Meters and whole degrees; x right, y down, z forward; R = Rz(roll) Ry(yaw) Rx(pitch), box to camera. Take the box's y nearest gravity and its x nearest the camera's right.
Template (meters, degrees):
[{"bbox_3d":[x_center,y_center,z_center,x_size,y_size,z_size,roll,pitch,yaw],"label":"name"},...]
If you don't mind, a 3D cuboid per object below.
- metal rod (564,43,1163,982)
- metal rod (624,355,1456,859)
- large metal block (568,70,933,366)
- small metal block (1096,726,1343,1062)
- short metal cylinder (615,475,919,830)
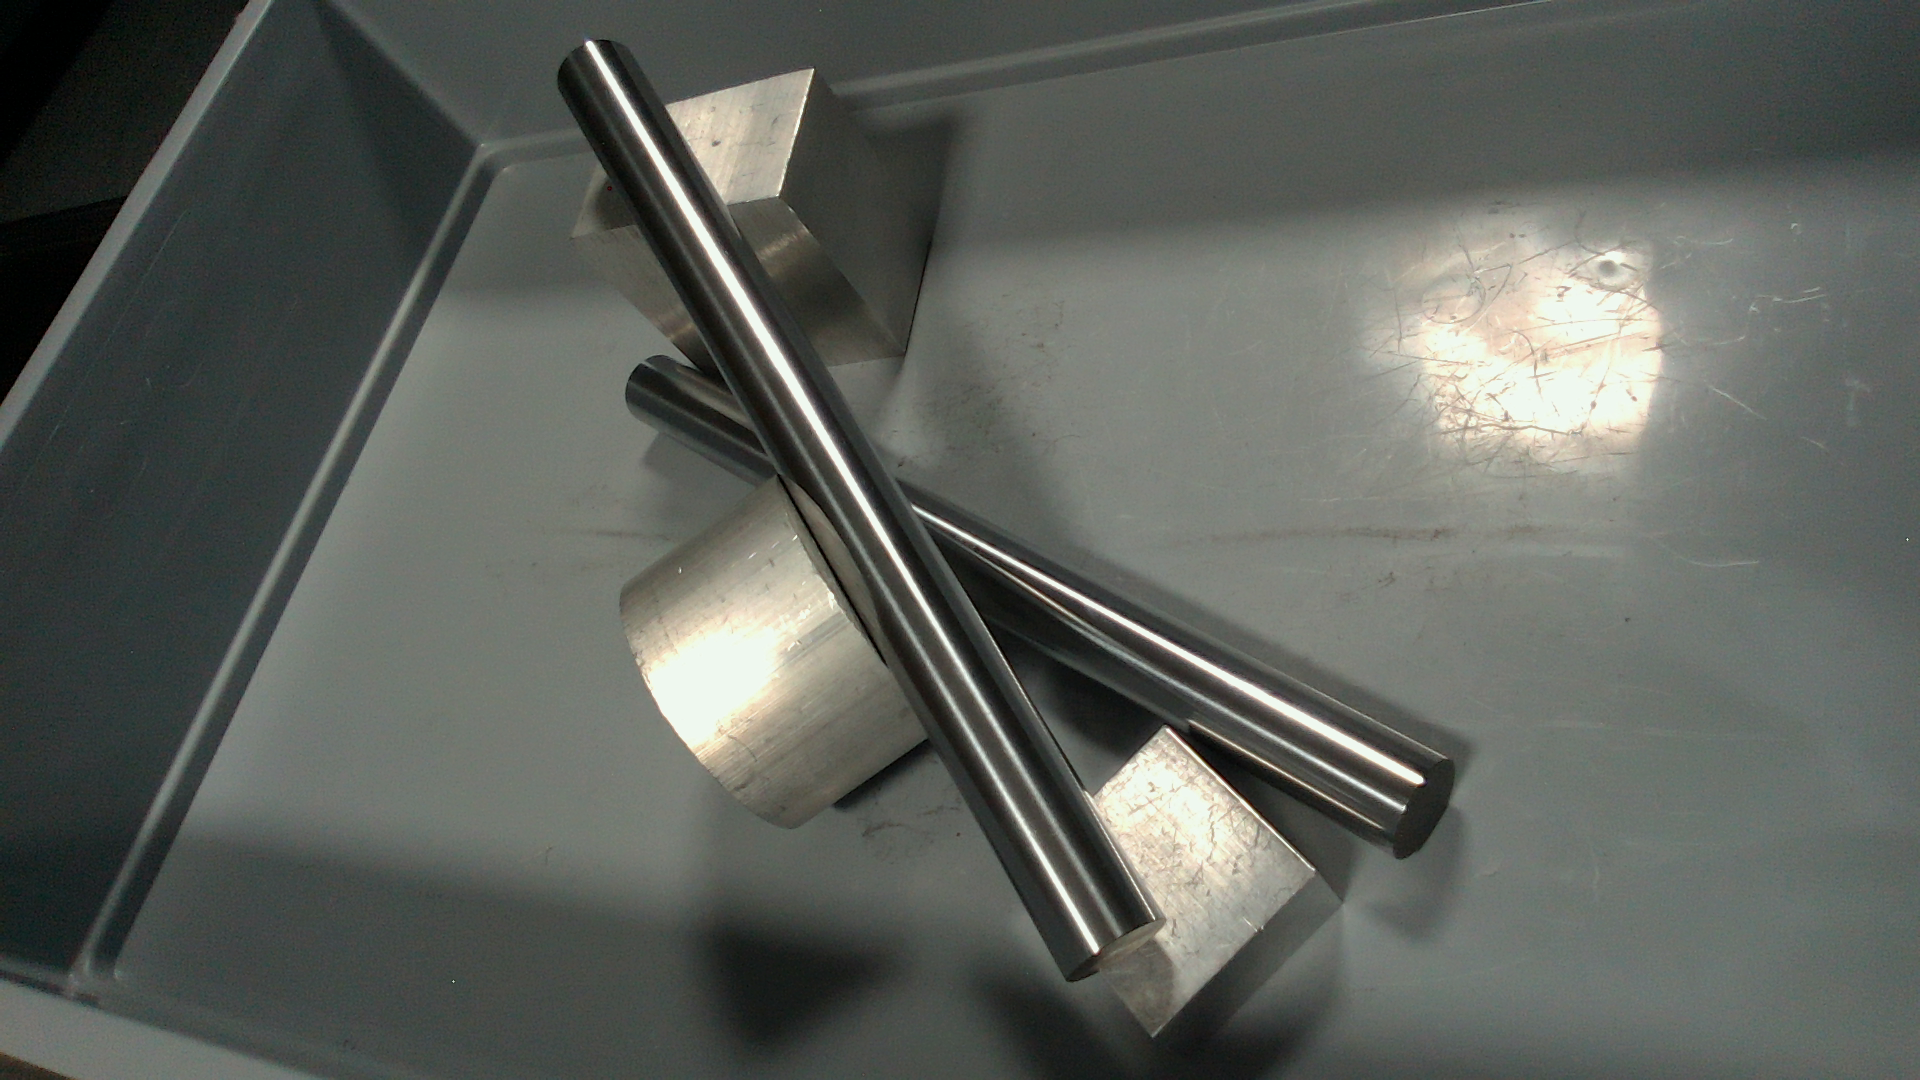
[{"bbox_3d":[-0.039,-0.028,0.355,0.025,0.025,0.300,-35,63,6],"label":"metal rod"},{"bbox_3d":[-0.003,0.003,0.392,0.299,0.025,0.025,28,77,38],"label":"metal rod"},{"bbox_3d":[-0.066,-0.099,0.455,0.080,0.080,0.050,-4,60,27],"label":"large metal block"},{"bbox_3d":[0.050,0.080,0.316,0.050,0.025,0.050,-44,51,-2],"label":"small metal block"},{"bbox_3d":[-0.045,0.028,0.363,0.050,0.080,0.080,-35,51,6],"label":"short metal cylinder"}]
